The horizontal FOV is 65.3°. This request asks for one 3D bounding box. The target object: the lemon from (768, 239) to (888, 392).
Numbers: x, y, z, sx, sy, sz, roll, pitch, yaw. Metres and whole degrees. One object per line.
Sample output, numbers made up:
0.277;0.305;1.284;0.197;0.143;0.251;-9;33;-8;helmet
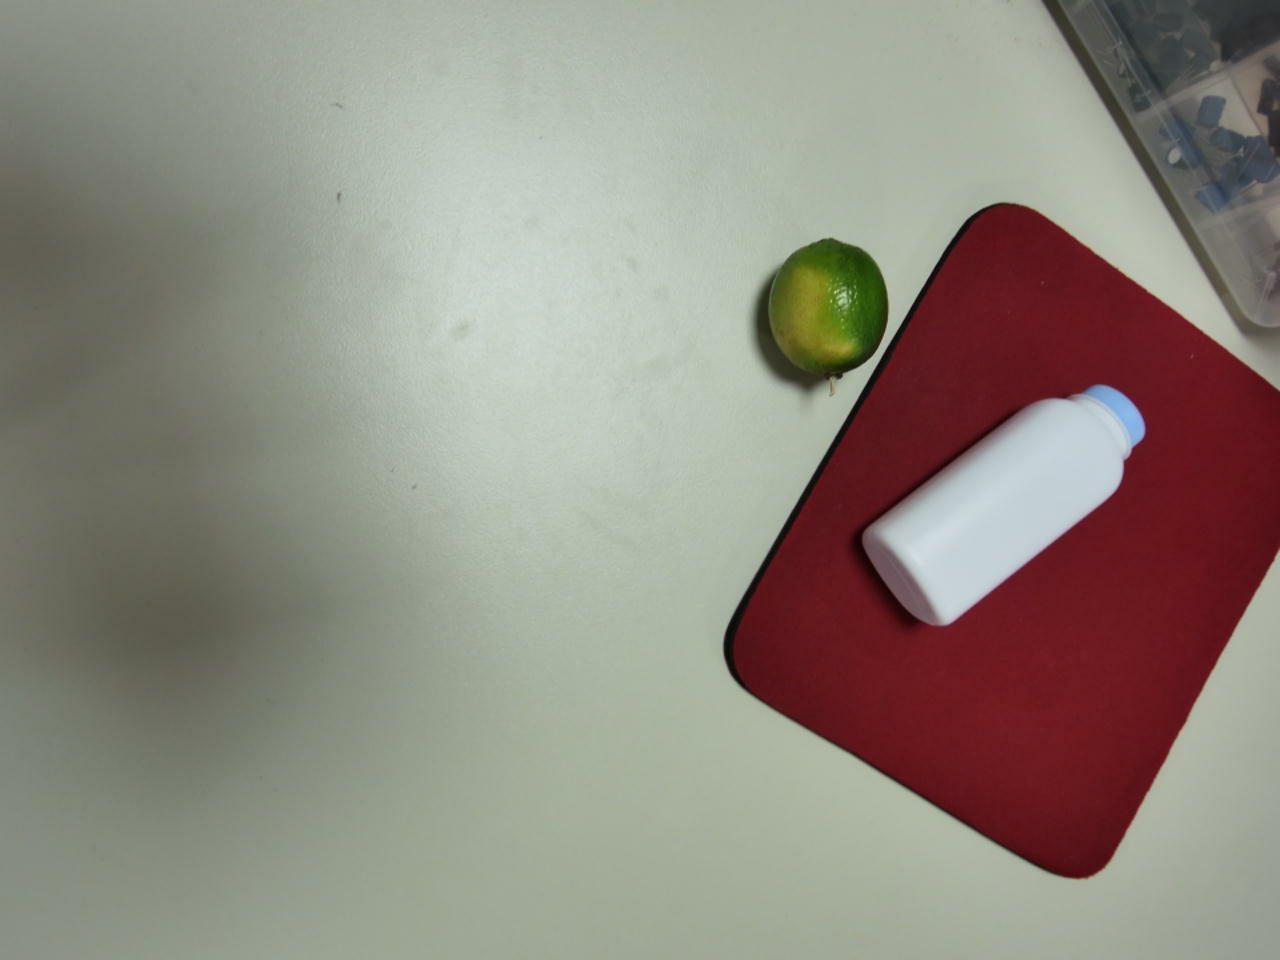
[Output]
0.081;-0.074;0.430;0.054;0.050;0.055;41;83;-9;lemon
